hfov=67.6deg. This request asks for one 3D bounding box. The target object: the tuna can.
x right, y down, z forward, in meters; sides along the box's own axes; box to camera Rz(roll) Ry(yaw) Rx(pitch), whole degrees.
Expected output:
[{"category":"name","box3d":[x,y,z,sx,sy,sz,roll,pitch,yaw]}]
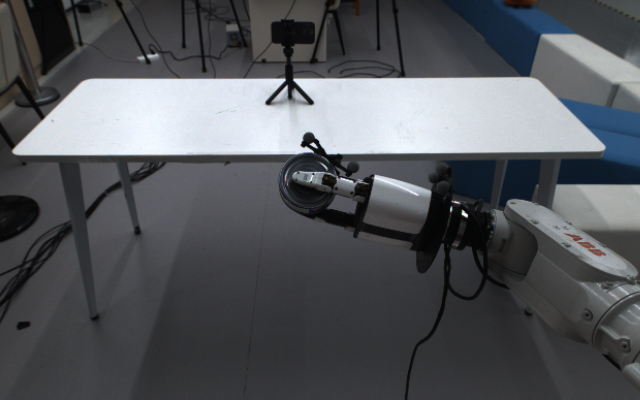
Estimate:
[{"category":"tuna can","box3d":[-0.016,-0.025,0.699,0.085,0.034,0.085,0,74,0]}]
